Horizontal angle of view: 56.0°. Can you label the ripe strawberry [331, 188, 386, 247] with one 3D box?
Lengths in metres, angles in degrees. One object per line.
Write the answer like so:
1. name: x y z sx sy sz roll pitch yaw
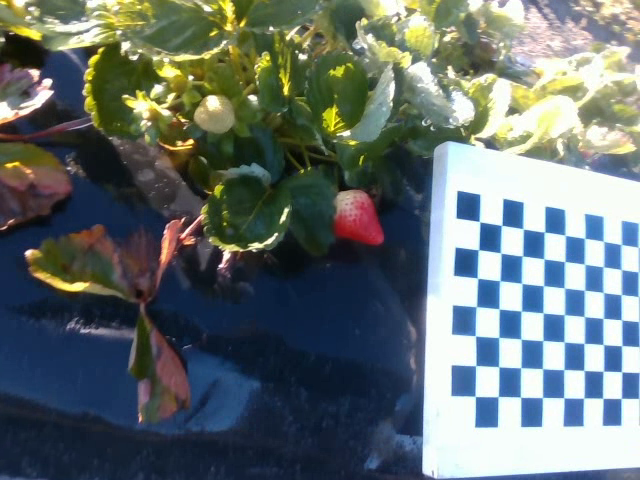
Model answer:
1. ripe strawberry: 0.035 -0.015 0.522 0.040 0.065 0.040 -46 12 -24
